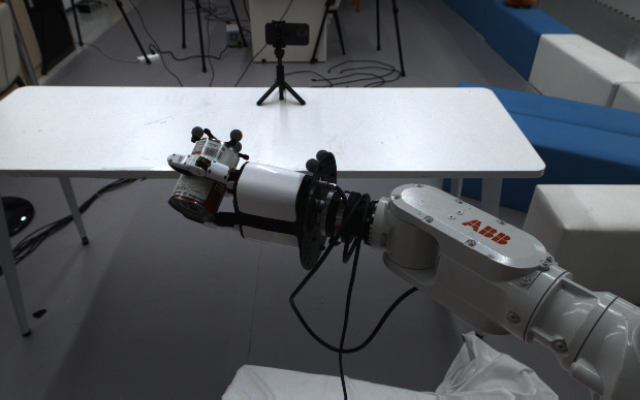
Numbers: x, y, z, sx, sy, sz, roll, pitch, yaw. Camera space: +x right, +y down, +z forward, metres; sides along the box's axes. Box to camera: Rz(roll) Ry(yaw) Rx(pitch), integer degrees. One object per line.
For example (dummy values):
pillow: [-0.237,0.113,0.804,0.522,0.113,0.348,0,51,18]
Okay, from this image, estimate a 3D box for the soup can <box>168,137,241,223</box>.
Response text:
soup can: [-0.164,-0.028,0.688,0.067,0.067,0.101,12,65,15]
